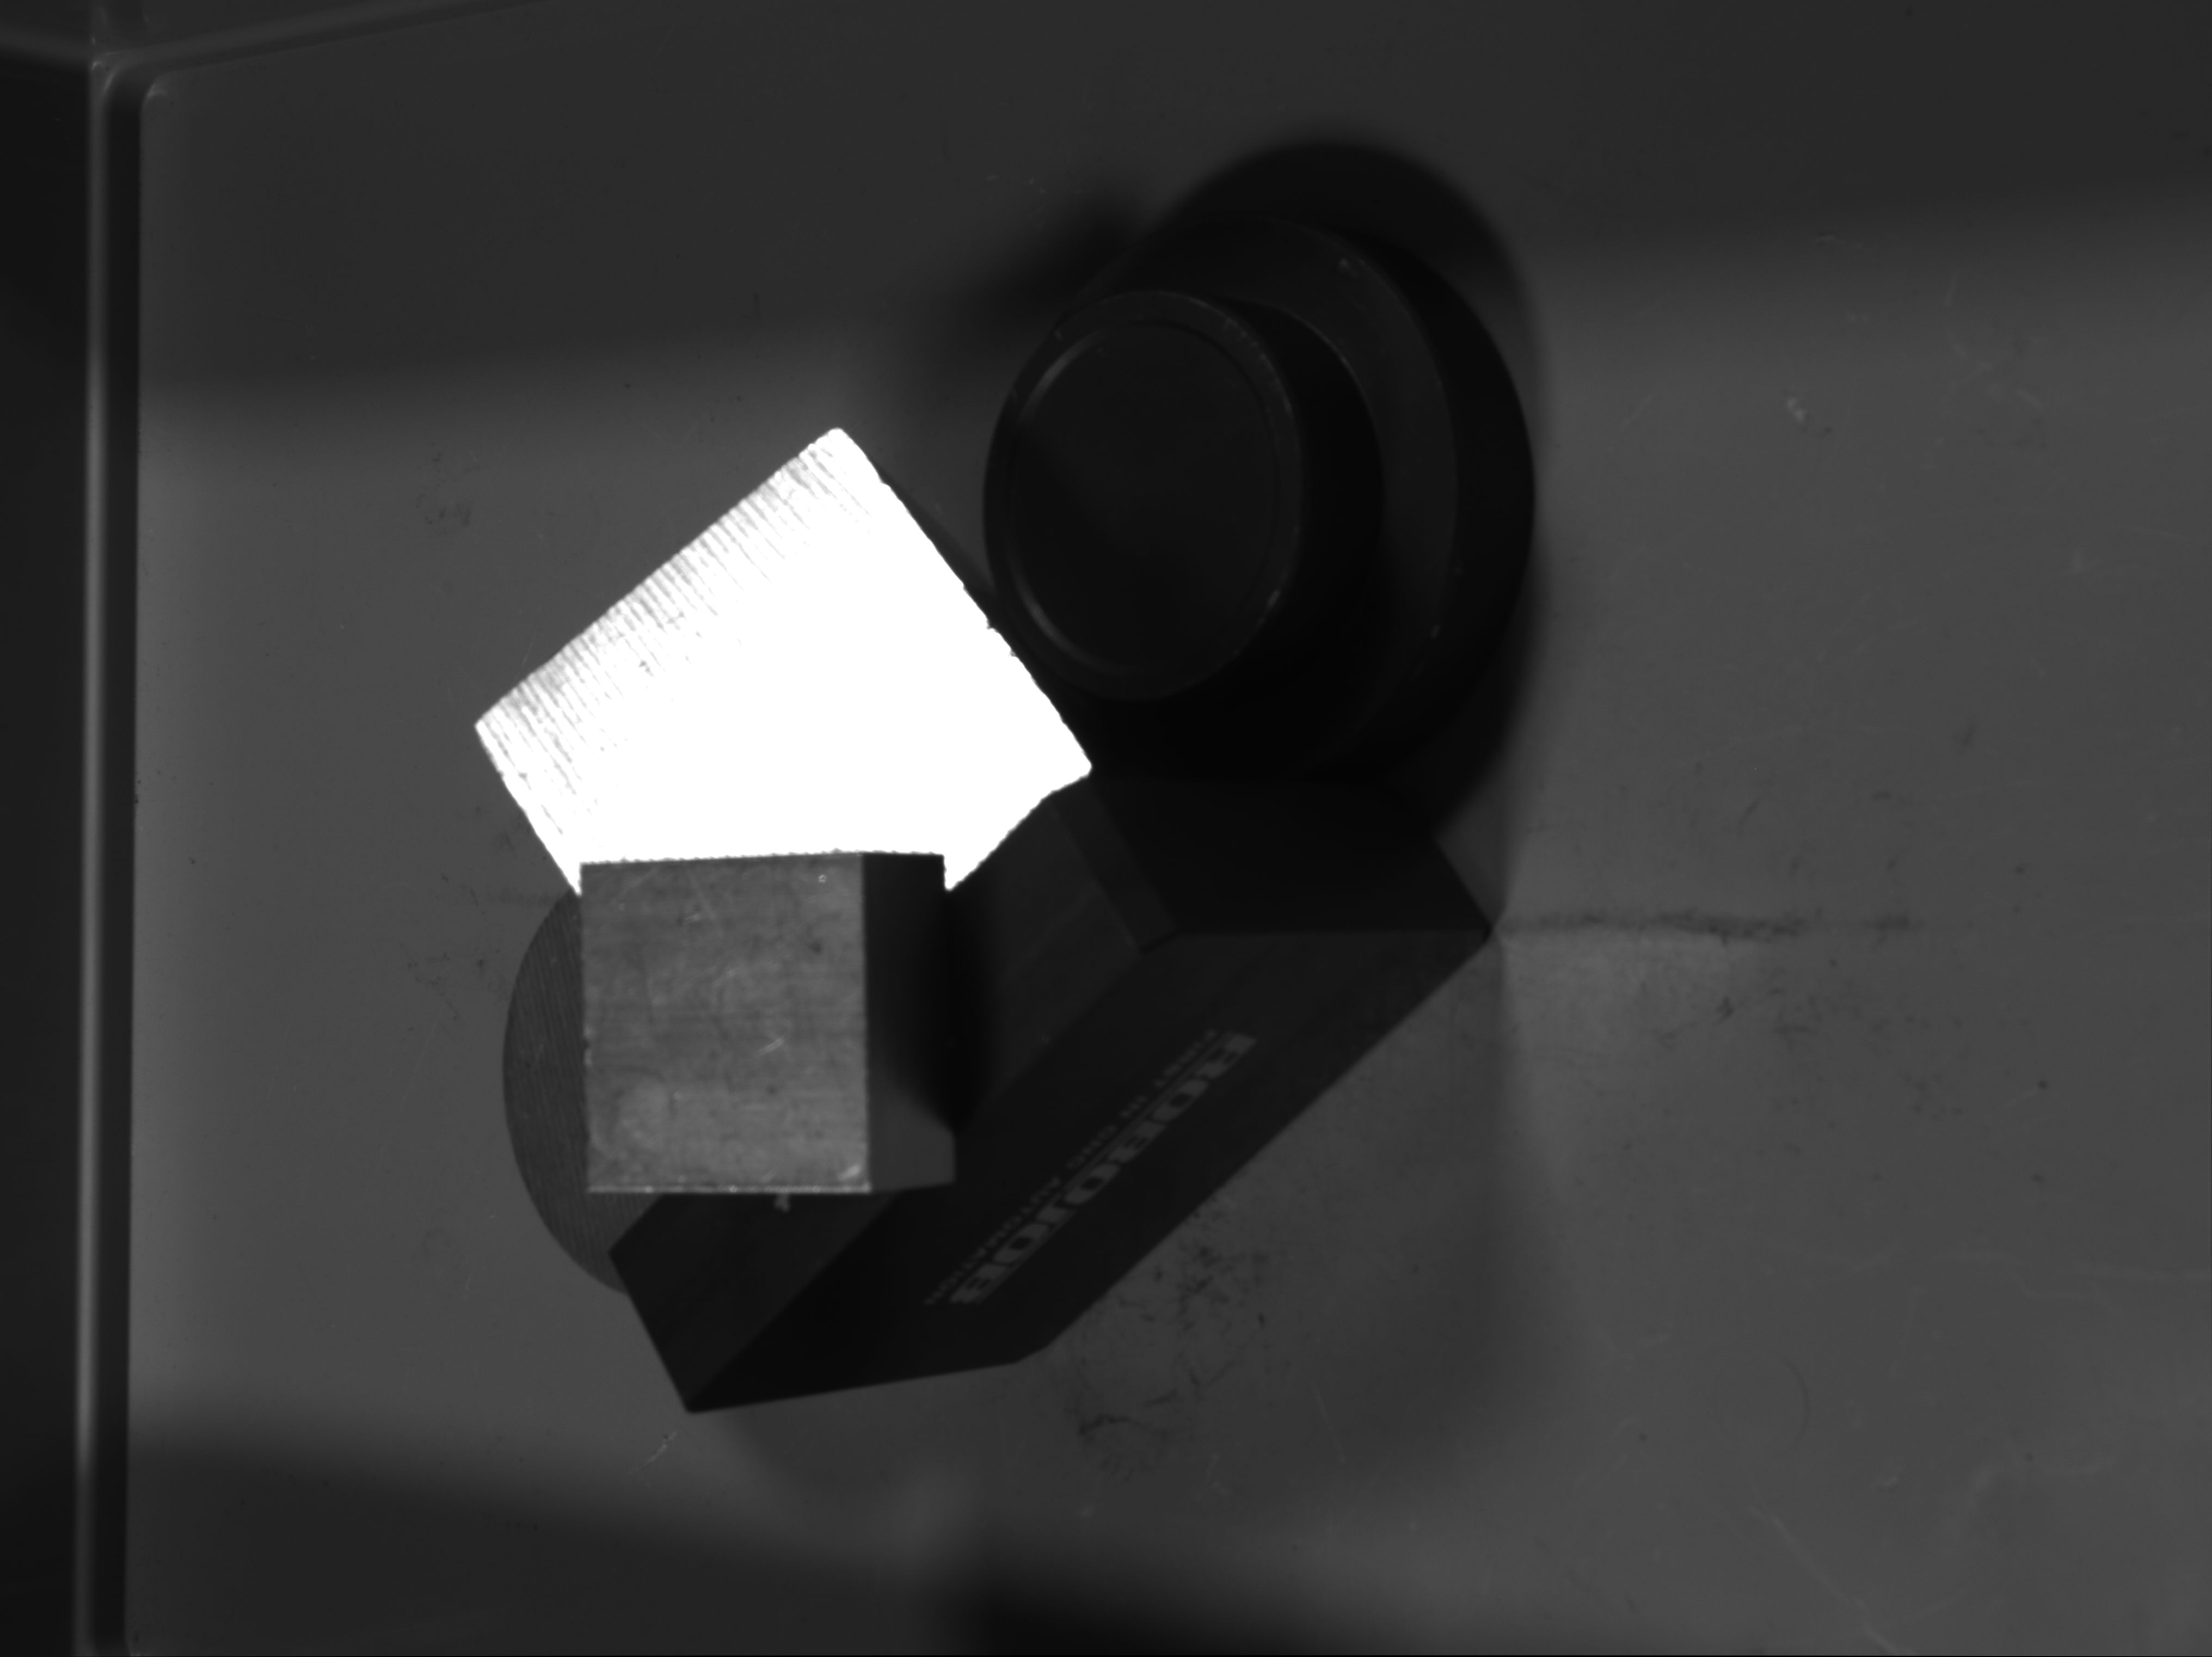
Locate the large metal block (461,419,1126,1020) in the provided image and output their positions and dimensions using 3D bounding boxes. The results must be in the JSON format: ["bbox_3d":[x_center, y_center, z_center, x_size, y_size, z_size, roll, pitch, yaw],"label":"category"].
[{"bbox_3d":[-0.047,-0.006,0.611,0.080,0.050,0.080,-39,64,5],"label":"large metal block"}]

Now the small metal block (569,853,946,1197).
[{"bbox_3d":[-0.053,0.030,0.554,0.050,0.025,0.050,-3,87,26],"label":"small metal block"}]

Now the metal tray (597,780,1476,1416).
[{"bbox_3d":[-0.012,0.045,0.601,0.130,0.090,0.030,-46,62,29],"label":"metal tray"}]

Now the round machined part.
[{"bbox_3d":[0.017,-0.054,0.610,0.098,0.042,0.098,0,90,39],"label":"round machined part"}]

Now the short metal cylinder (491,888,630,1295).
[{"bbox_3d":[-0.067,0.045,0.673,0.080,0.050,0.080,0,90,39],"label":"short metal cylinder"}]
